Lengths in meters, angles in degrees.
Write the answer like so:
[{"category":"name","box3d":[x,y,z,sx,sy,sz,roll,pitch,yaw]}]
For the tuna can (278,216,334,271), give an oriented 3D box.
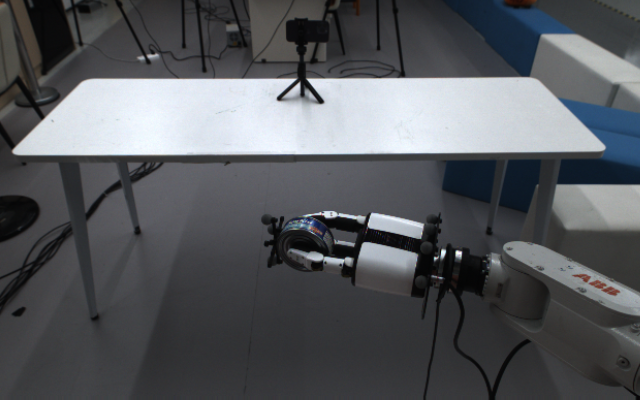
[{"category":"tuna can","box3d":[-0.021,0.067,0.747,0.085,0.085,0.034,9,33,10]}]
